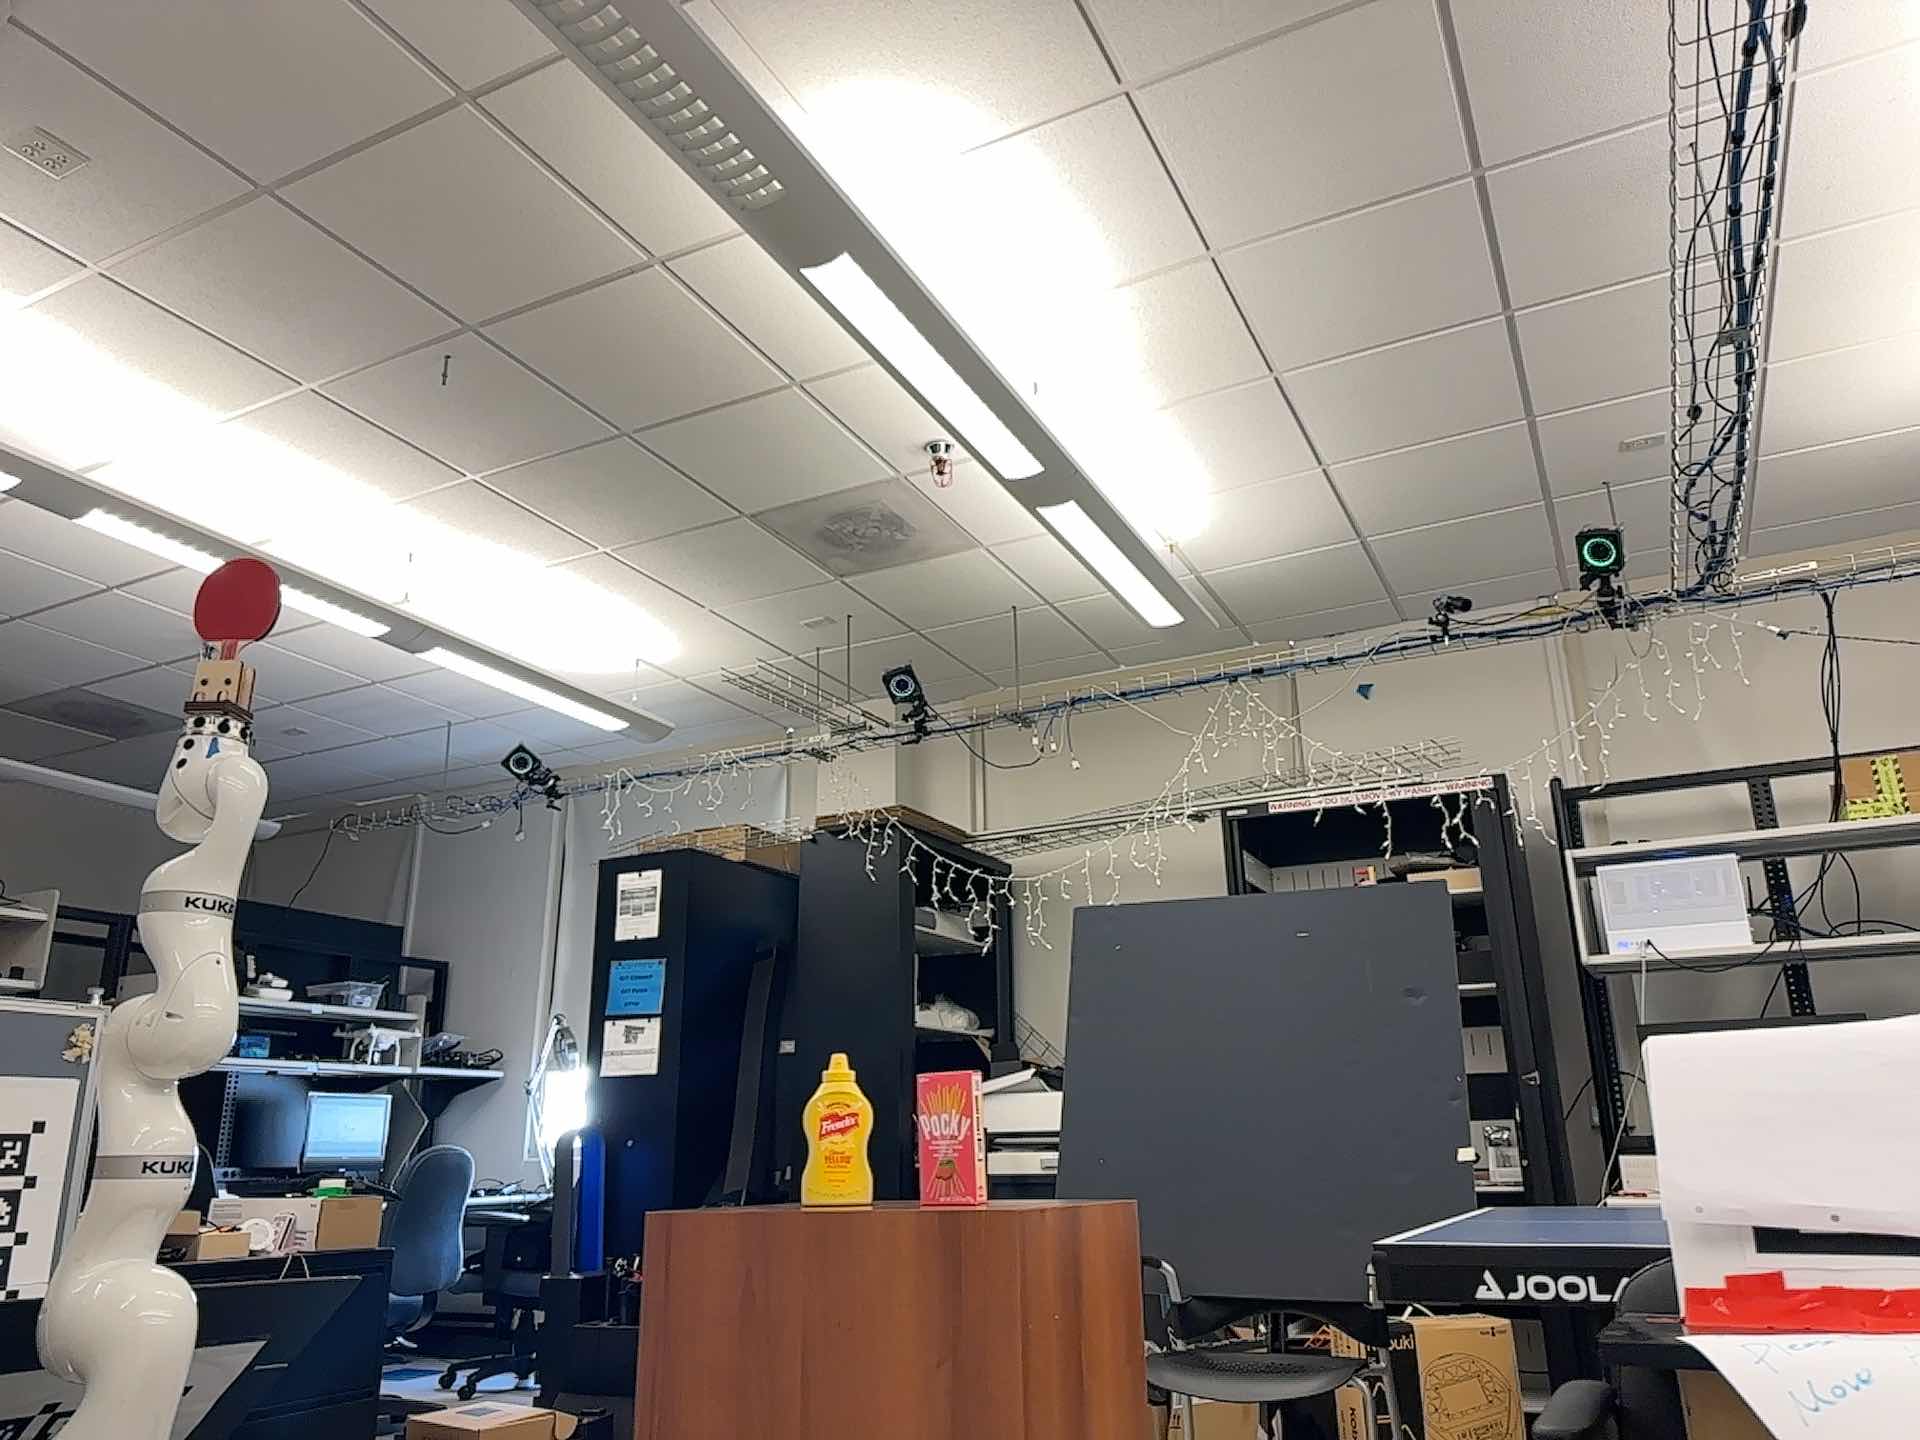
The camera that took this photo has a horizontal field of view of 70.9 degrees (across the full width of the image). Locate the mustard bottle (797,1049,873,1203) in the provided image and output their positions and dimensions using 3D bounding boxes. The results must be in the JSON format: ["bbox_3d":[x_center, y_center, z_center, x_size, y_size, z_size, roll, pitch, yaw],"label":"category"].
[{"bbox_3d":[-0.157,0.507,1.691,0.092,0.184,0.054,0,-18,-1],"label":"mustard bottle"}]

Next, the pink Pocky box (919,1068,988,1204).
[{"bbox_3d":[-0.010,0.504,1.635,0.084,0.154,0.029,-12,-22,32],"label":"pink Pocky box"}]
